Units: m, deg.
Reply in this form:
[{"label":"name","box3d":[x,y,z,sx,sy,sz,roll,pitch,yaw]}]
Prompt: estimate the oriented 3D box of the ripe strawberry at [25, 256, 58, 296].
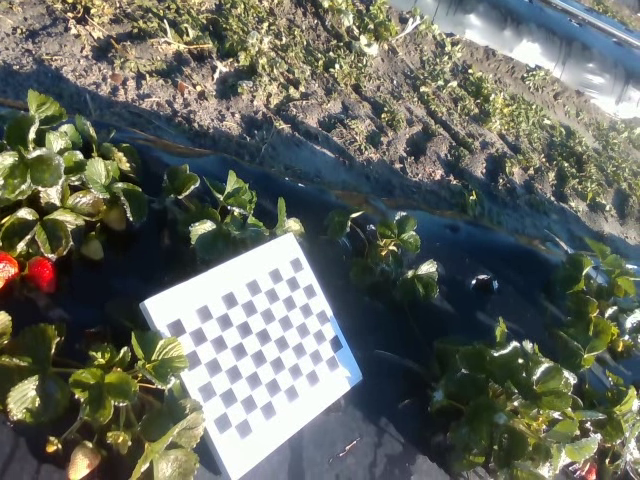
[{"label":"ripe strawberry","box3d":[-0.405,0.049,0.854,0.043,0.059,0.040,-27,-5,-40]}]
